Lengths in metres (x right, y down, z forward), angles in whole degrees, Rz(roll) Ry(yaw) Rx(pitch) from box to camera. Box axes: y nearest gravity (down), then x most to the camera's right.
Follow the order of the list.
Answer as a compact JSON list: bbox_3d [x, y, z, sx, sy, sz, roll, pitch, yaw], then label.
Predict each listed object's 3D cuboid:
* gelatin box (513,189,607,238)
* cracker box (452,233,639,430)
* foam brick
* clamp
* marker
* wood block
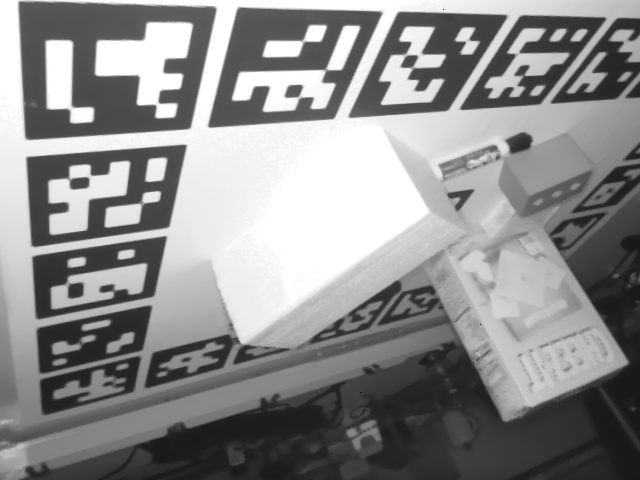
[{"bbox_3d":[0.281,-0.041,0.811,0.091,0.030,0.072,-8,141,-27],"label":"gelatin box"},{"bbox_3d":[0.277,0.100,0.821,0.166,0.214,0.071,-8,144,-24],"label":"cracker box"},{"bbox_3d":[0.274,-0.079,0.727,0.078,0.051,0.052,-22,146,-8],"label":"foam brick"},{"bbox_3d":[0.029,0.059,0.757,0.203,0.036,0.165,-26,147,-3],"label":"clamp"},{"bbox_3d":[0.197,-0.099,0.671,0.122,0.019,0.019,-20,145,-12],"label":"marker"},{"bbox_3d":[0.046,-0.015,0.622,0.204,0.091,0.091,-36,149,19],"label":"wood block"}]
